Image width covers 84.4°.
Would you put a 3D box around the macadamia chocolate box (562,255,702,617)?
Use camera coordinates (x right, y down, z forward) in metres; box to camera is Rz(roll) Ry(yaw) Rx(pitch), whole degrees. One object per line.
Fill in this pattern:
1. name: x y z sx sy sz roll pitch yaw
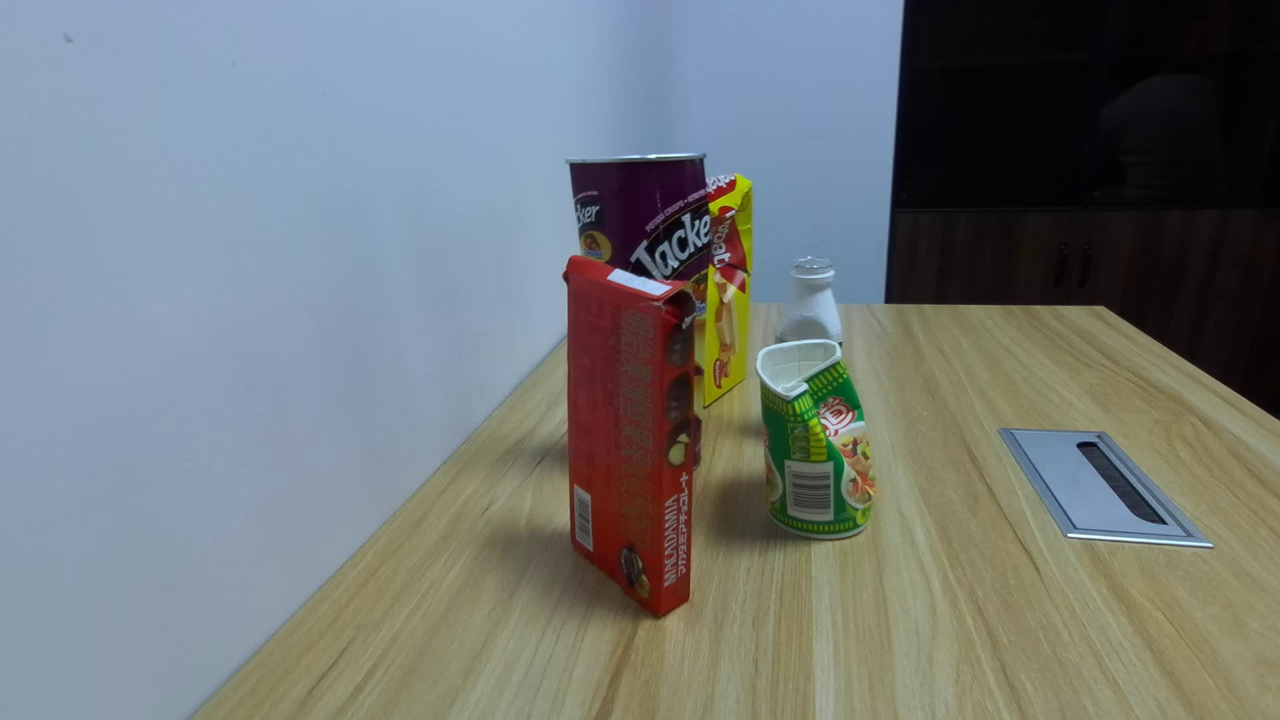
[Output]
1. macadamia chocolate box: -0.009 0.040 0.401 0.027 0.187 0.102 -12 22 -35

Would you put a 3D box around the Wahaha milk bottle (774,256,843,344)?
1. Wahaha milk bottle: 0.134 -0.010 0.573 0.055 0.149 0.055 -4 30 3

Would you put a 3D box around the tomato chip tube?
1. tomato chip tube: 0.005 -0.029 0.523 0.077 0.235 0.076 11 21 43

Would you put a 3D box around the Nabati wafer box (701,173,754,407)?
1. Nabati wafer box: 0.065 -0.064 0.657 0.042 0.204 0.107 11 24 32

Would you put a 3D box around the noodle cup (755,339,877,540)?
1. noodle cup: 0.117 0.051 0.463 0.083 0.122 0.075 -22 18 -21
